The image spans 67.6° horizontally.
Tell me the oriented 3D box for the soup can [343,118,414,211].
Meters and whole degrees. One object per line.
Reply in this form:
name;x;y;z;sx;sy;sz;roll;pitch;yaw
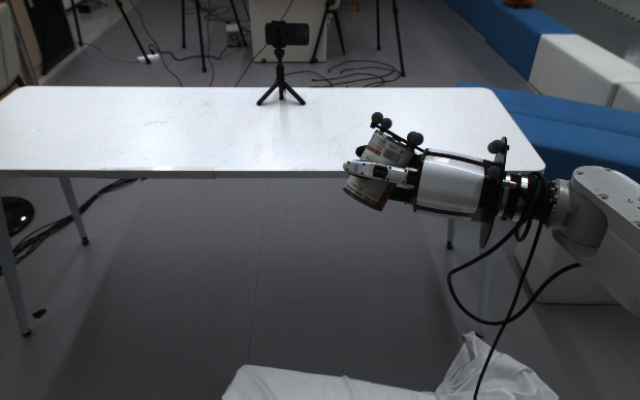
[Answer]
soup can;0.087;-0.044;0.716;0.067;0.101;0.067;27;10;-5
